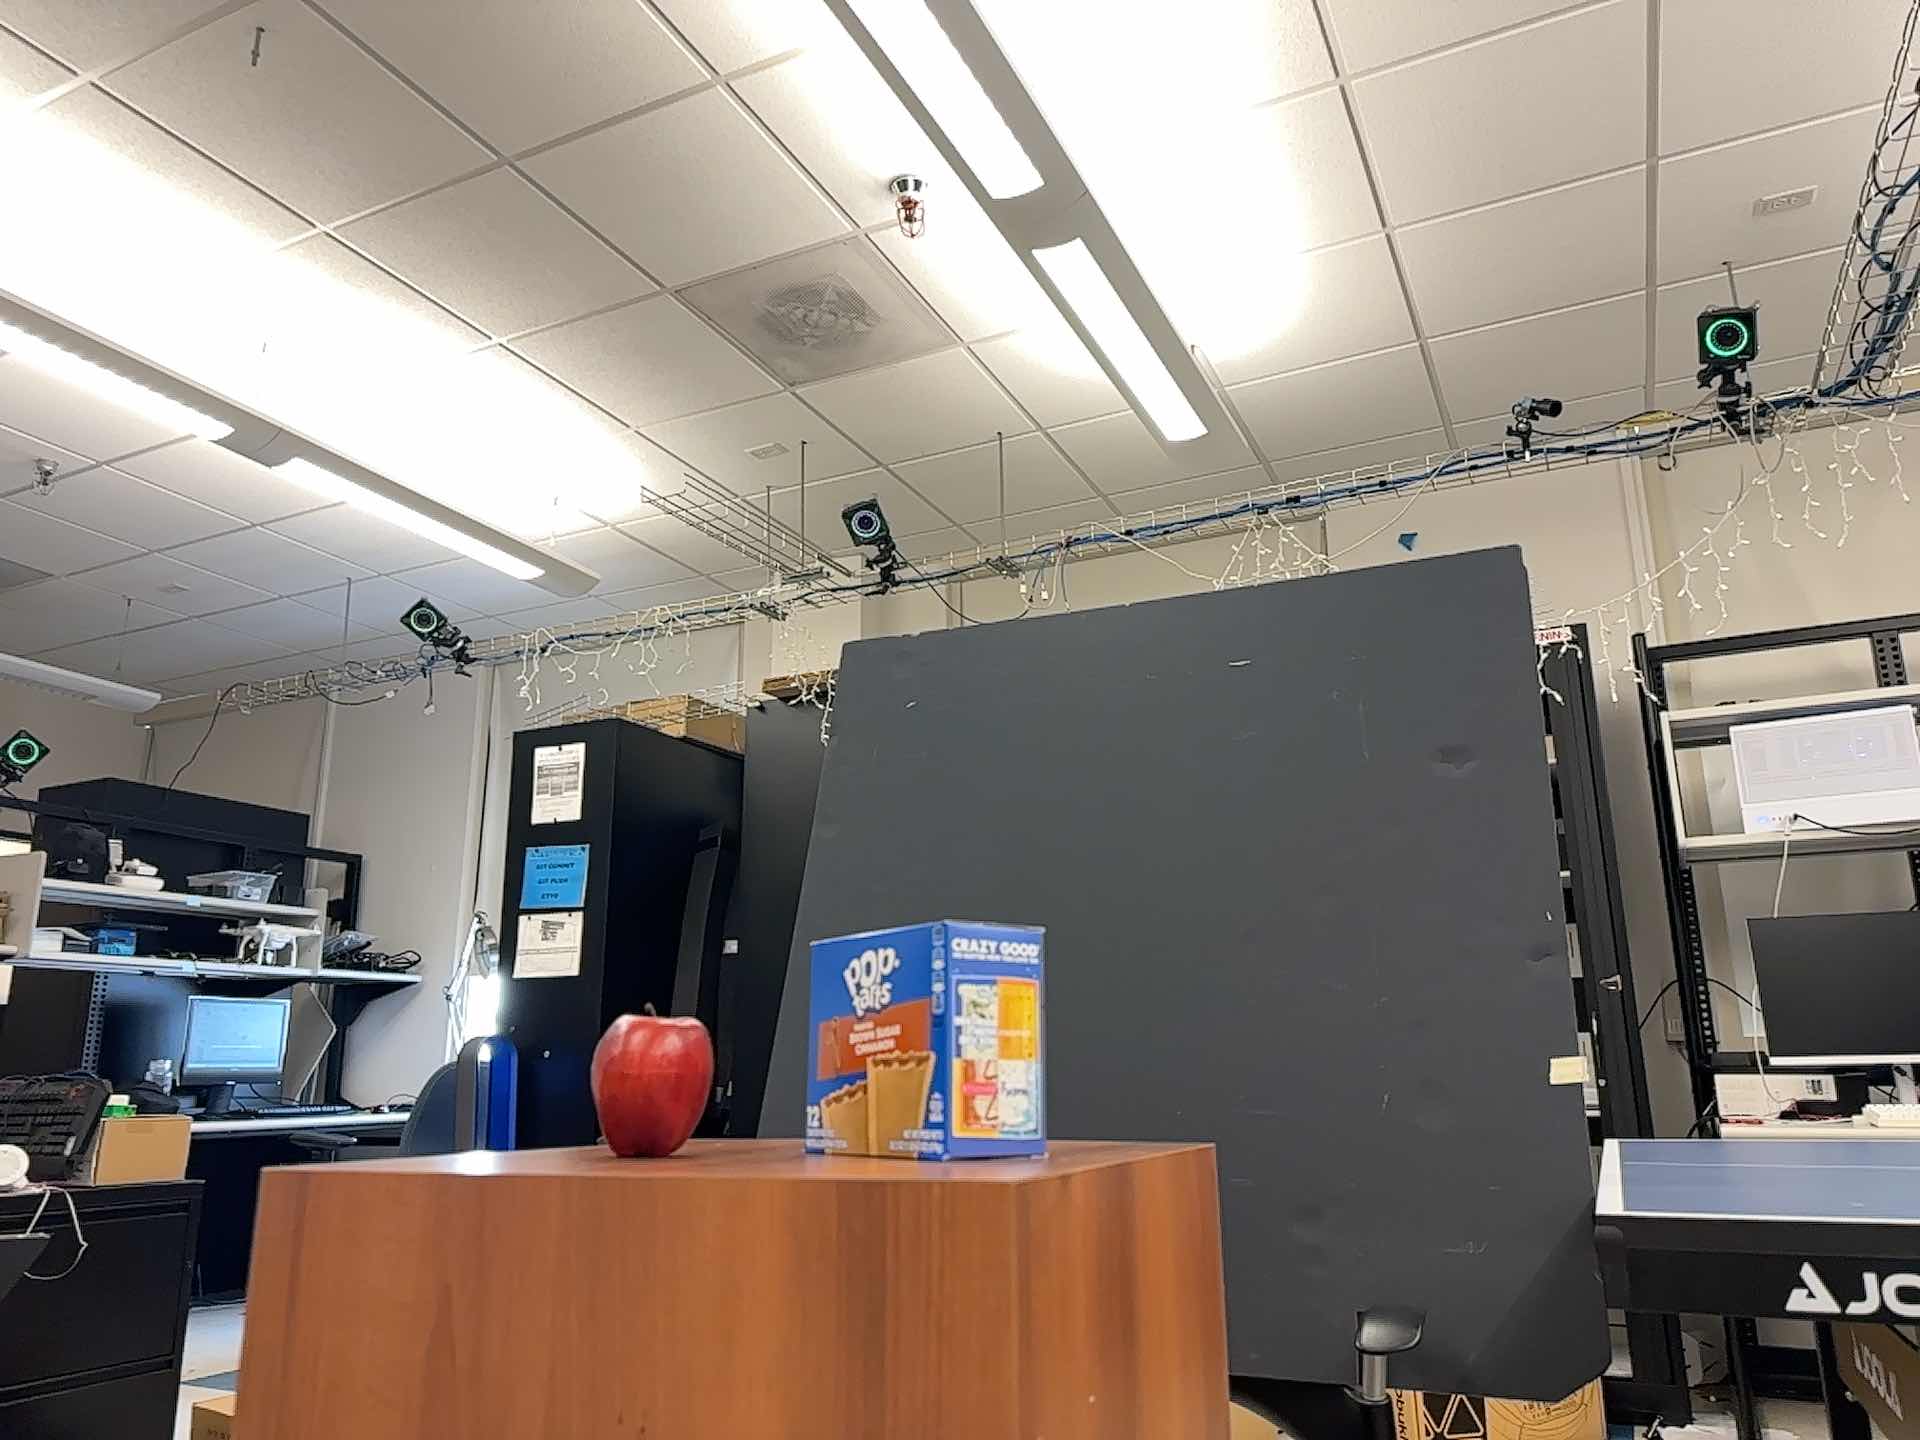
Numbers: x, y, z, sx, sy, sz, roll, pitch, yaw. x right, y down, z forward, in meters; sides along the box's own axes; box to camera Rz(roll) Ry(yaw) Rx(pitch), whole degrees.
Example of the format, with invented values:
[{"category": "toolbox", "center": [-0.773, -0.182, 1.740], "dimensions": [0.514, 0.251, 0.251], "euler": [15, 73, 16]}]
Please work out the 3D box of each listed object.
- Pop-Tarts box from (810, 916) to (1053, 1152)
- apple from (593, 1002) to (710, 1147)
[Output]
[{"category": "Pop-Tarts box", "center": [-0.024, 0.210, 0.886], "dimensions": [0.075, 0.135, 0.161], "euler": [11, -19, -34]}, {"category": "apple", "center": [-0.209, 0.236, 0.900], "dimensions": [0.079, 0.093, 0.079], "euler": [0, -14, 0]}]
